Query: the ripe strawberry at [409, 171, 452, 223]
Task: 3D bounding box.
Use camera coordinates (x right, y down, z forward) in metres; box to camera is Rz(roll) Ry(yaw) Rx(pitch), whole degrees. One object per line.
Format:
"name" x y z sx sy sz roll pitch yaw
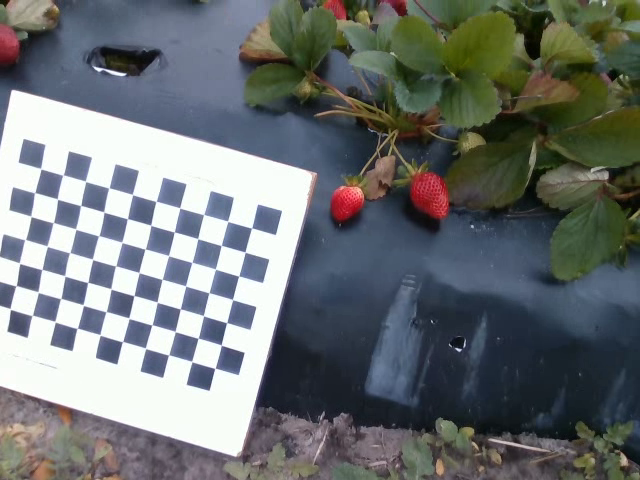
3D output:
"ripe strawberry" 0.105 -0.043 0.563 0.044 0.059 0.041 -33 -22 18

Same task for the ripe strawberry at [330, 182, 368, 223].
"ripe strawberry" 0.025 -0.036 0.559 0.036 0.041 0.028 16 -12 14
